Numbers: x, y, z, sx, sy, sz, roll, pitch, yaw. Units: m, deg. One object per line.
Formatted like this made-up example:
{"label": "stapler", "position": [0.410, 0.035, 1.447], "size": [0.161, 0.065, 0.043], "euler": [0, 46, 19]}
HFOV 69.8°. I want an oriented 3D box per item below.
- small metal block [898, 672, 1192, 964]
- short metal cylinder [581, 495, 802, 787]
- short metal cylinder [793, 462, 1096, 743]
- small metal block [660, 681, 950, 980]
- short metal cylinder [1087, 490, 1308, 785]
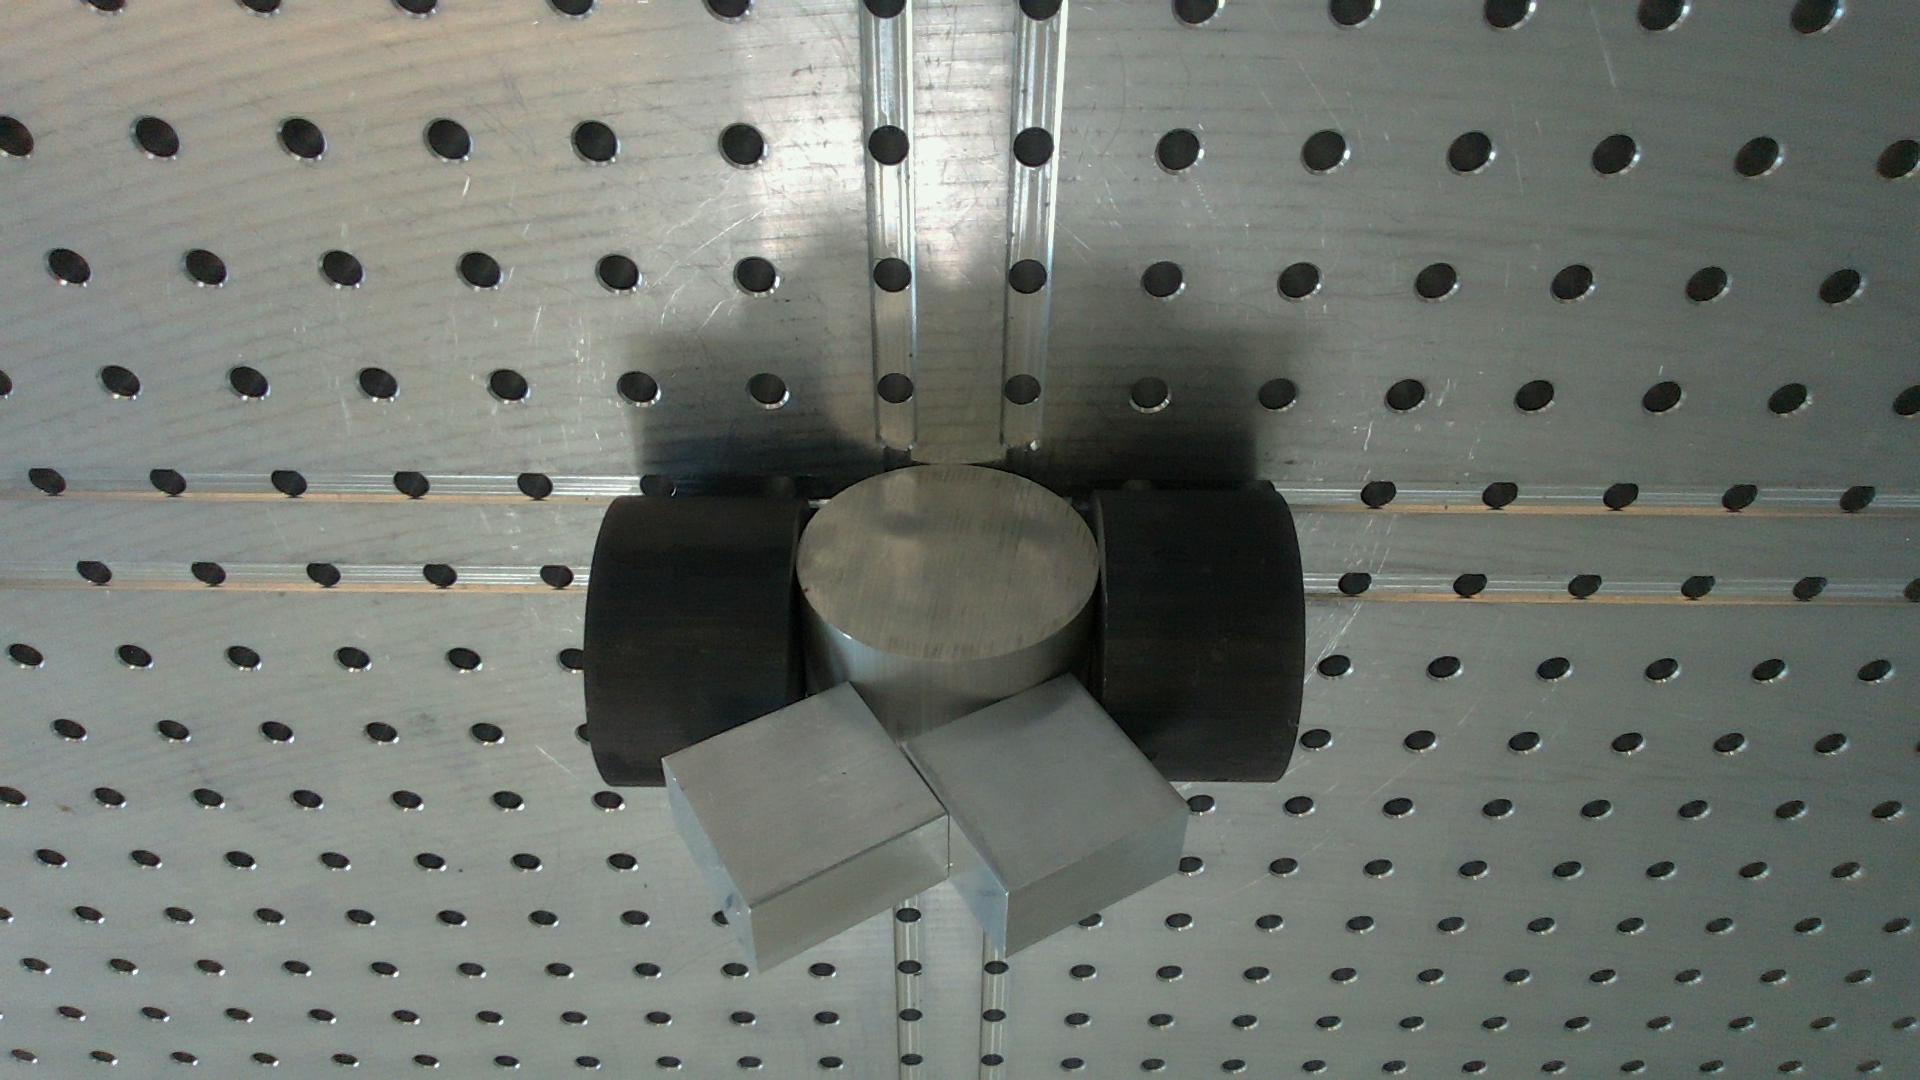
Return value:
{"label": "small metal block", "position": [0.019, 0.065, 0.332], "size": [0.050, 0.050, 0.025], "euler": [-20, 135, -23]}
{"label": "short metal cylinder", "position": [-0.069, 0.028, 0.380], "size": [0.050, 0.080, 0.080], "euler": [1, 130, 0]}
{"label": "short metal cylinder", "position": [-0.004, 0.023, 0.377], "size": [0.080, 0.080, 0.050], "euler": [1, 130, -1]}
{"label": "small metal block", "position": [-0.037, 0.067, 0.327], "size": [0.050, 0.050, 0.025], "euler": [-21, 135, -24]}
{"label": "short metal cylinder", "position": [0.061, 0.027, 0.379], "size": [0.050, 0.080, 0.080], "euler": [1, 130, 0]}
